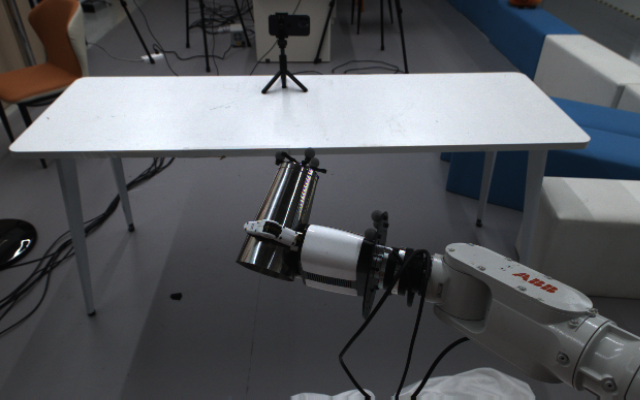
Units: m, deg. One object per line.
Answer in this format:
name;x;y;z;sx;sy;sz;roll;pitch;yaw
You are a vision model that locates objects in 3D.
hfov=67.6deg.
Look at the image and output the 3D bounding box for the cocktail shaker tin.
cocktail shaker tin;-0.061;0.030;0.749;0.093;0.093;0.170;14;72;17
